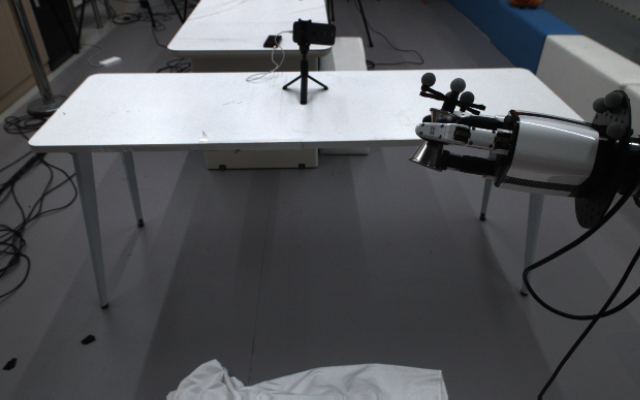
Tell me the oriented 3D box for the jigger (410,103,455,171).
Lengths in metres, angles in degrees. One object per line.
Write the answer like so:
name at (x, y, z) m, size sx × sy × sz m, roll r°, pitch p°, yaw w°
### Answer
jigger at (0.140, -0.074, 0.594) m, size 0.043 × 0.071 × 0.043 m, roll 22°, pitch 6°, yaw -2°
